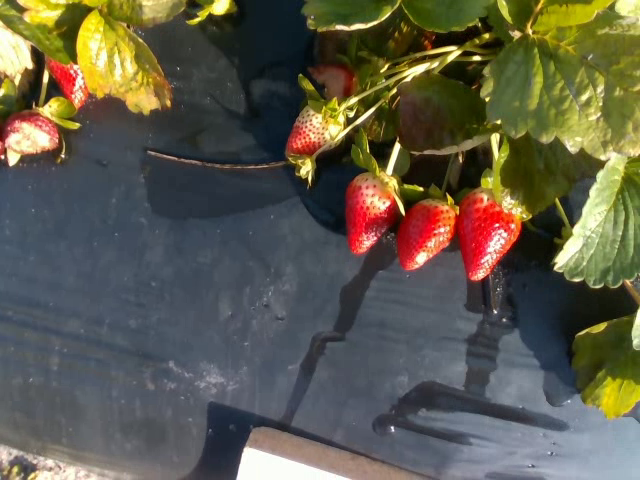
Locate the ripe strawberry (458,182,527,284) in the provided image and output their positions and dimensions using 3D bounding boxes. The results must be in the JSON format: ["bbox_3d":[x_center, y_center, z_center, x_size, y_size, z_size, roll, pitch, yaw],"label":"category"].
[{"bbox_3d":[0.078,0.004,0.295,0.035,0.041,0.034,13,-19,9],"label":"ripe strawberry"}]

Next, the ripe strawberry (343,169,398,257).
[{"bbox_3d":[0.024,-0.012,0.304,0.031,0.046,0.023,16,17,7],"label":"ripe strawberry"}]

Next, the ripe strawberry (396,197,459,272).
[{"bbox_3d":[0.050,-0.002,0.295,0.030,0.039,0.037,25,-32,1],"label":"ripe strawberry"}]
